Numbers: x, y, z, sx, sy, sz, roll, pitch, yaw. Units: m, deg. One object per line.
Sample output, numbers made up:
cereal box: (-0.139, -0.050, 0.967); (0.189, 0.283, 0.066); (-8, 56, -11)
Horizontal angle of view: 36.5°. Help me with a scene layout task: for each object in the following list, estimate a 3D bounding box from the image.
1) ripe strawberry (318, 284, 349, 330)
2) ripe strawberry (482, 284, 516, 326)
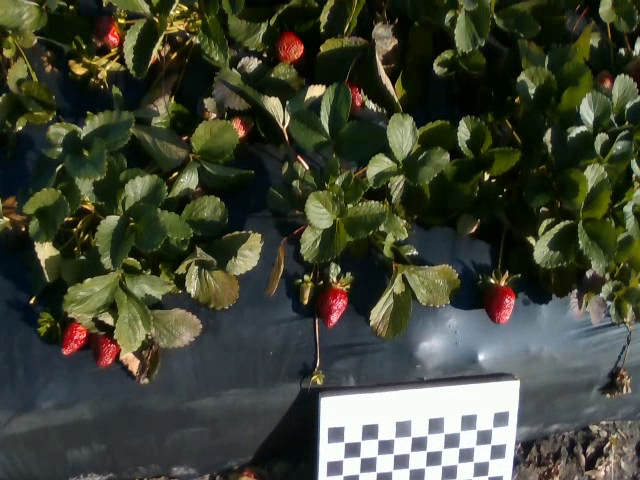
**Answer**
ripe strawberry: (0.014, 0.076, 1.081); (0.041, 0.053, 0.043); (8, -30, -22)
ripe strawberry: (0.214, 0.081, 1.133); (0.042, 0.050, 0.043); (33, -44, -25)
